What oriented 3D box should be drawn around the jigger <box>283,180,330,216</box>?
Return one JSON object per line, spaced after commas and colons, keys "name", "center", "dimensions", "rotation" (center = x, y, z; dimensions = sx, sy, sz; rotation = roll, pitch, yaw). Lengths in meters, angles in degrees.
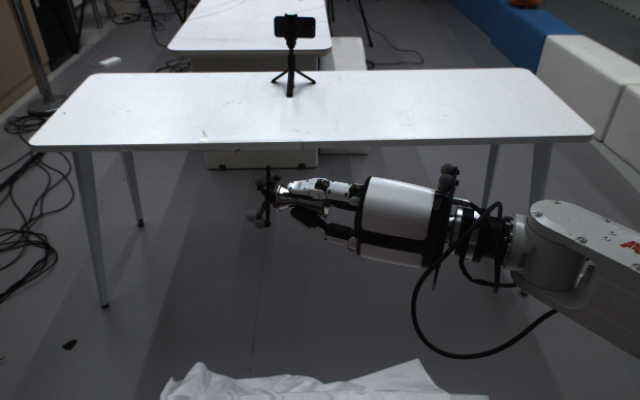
{"name": "jigger", "center": [-0.016, -0.004, 0.662], "dimensions": [0.071, 0.043, 0.043], "rotation": [5, 35, 12]}
